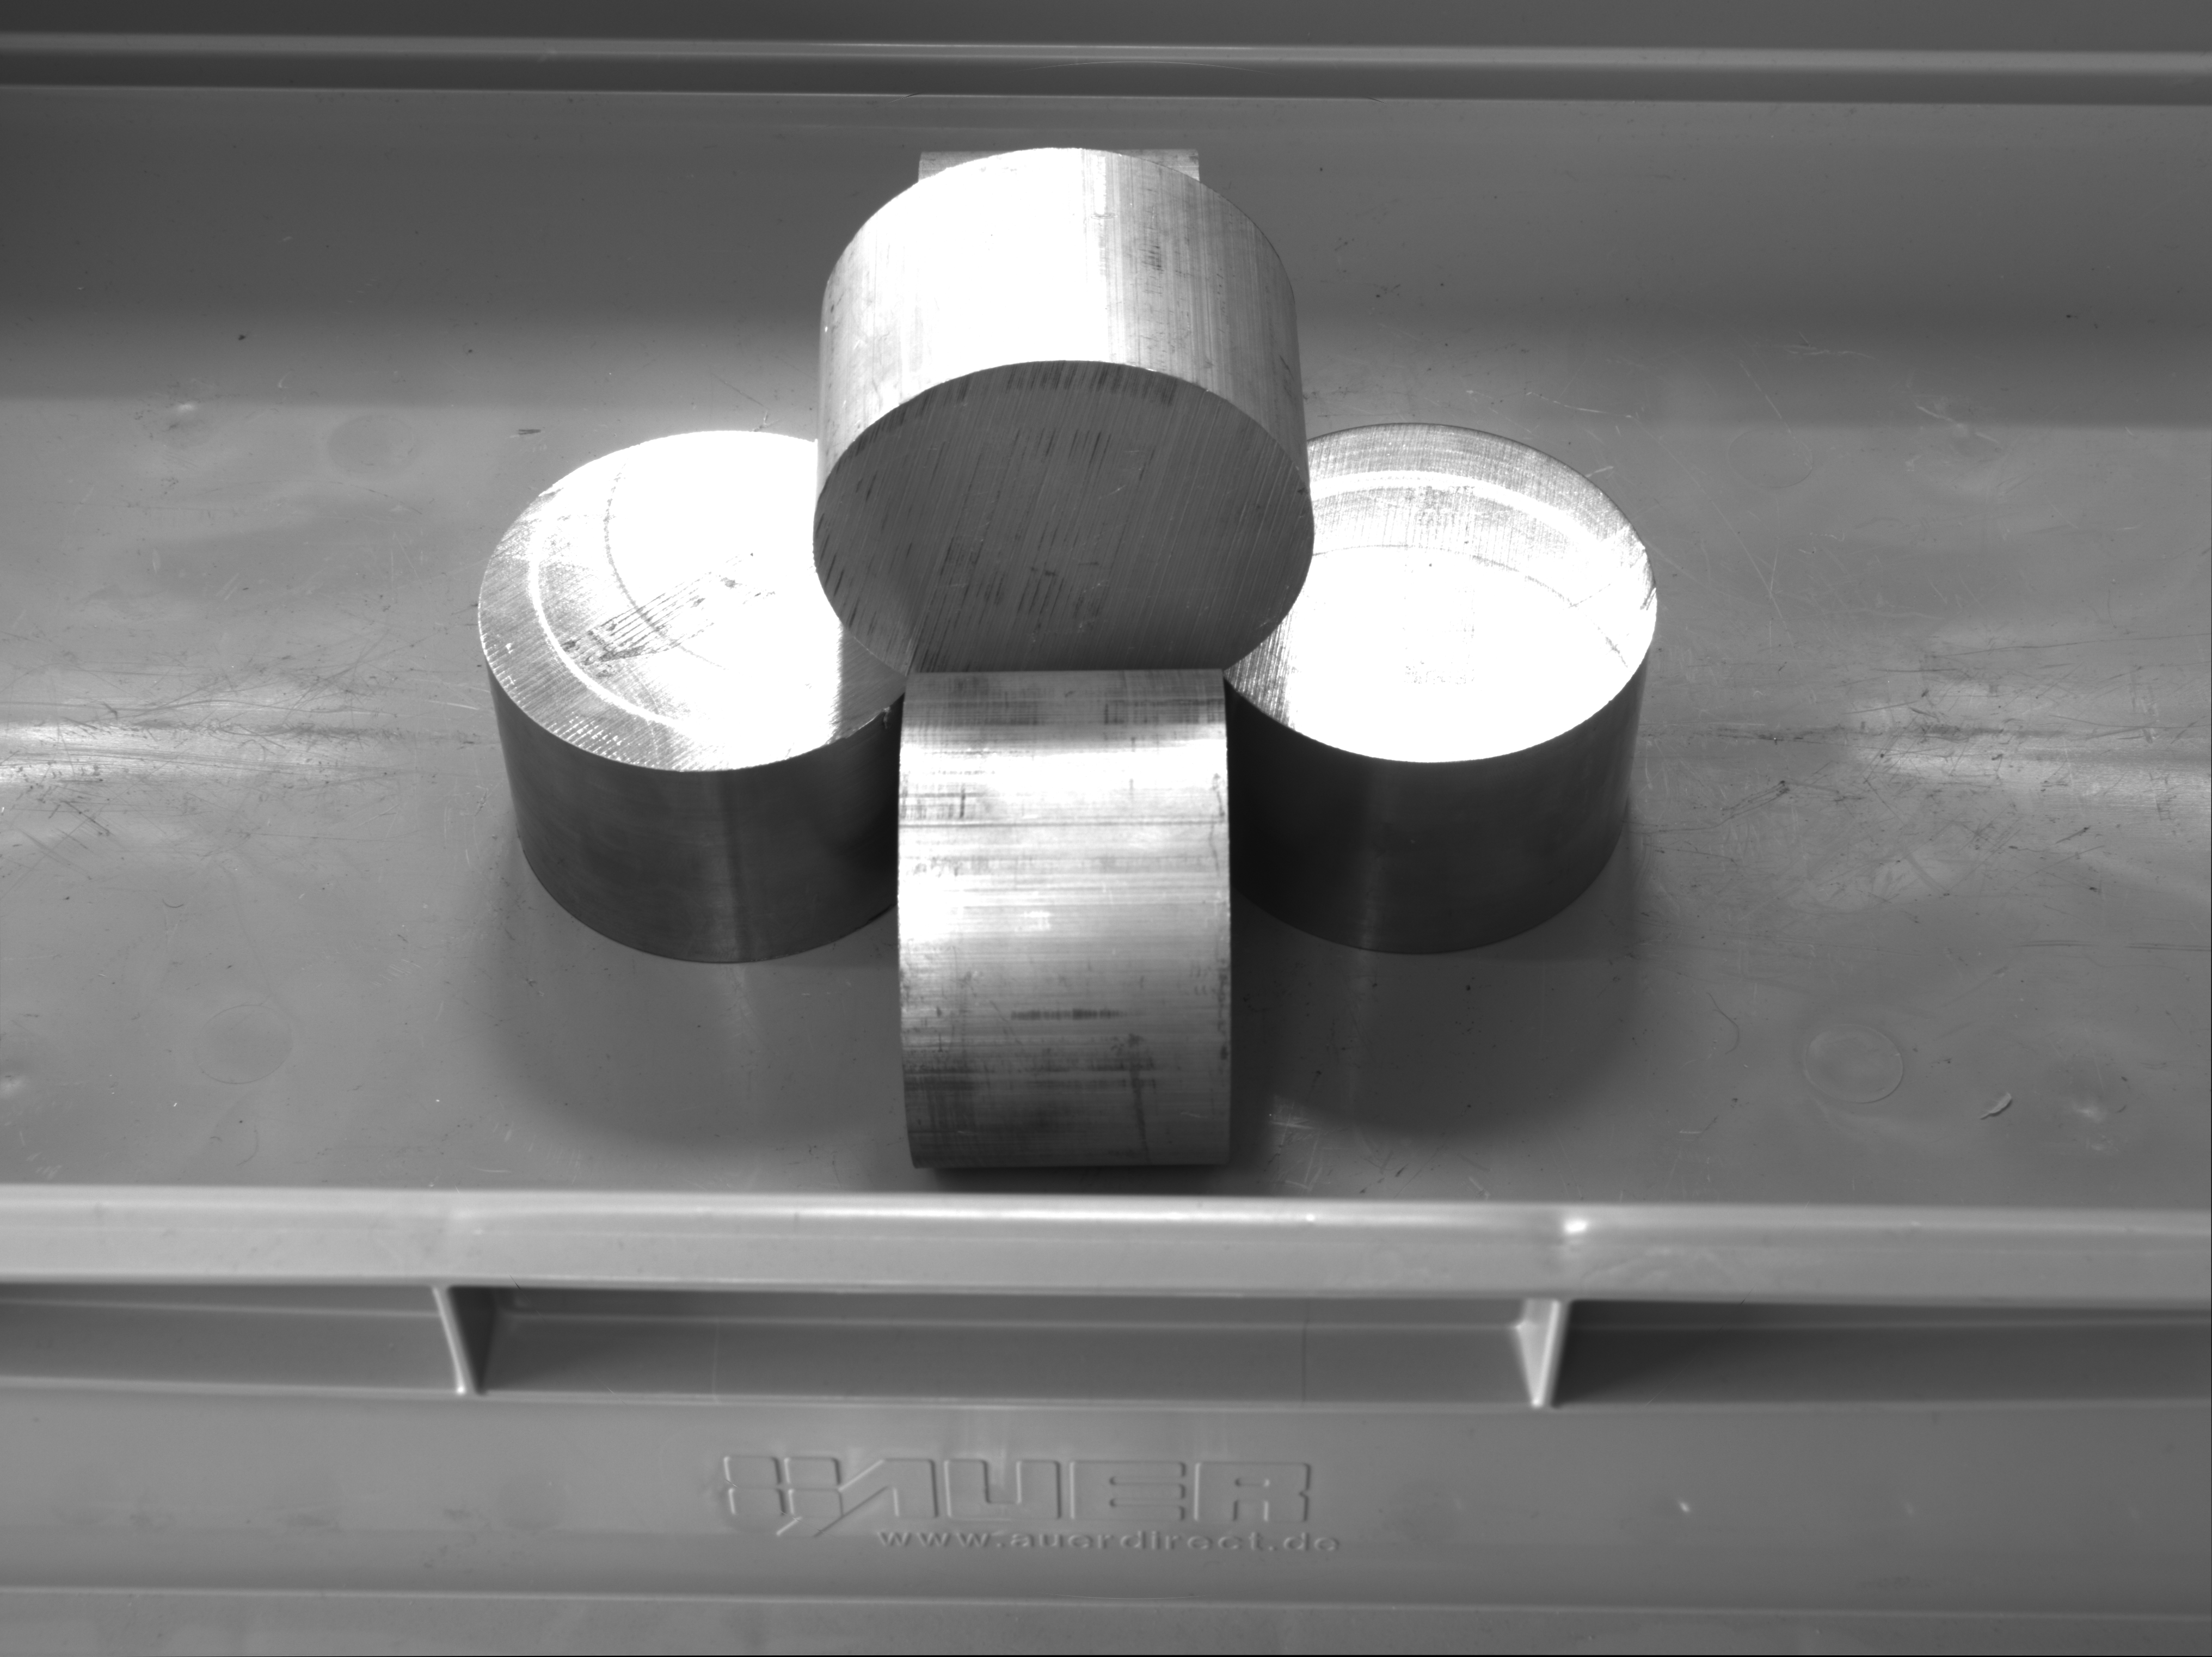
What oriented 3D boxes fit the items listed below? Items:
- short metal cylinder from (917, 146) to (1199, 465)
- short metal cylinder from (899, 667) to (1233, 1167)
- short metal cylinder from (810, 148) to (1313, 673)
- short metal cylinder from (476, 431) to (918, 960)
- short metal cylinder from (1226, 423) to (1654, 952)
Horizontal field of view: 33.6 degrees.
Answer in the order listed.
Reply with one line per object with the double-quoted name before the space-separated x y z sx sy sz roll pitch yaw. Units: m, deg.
"short metal cylinder" -0.009 -0.085 0.675 0.050 0.080 0.080 -1 50 -1
"short metal cylinder" -0.007 0.014 0.592 0.050 0.080 0.080 -1 50 -1
"short metal cylinder" -0.007 -0.064 0.600 0.080 0.080 0.050 -1 50 -1
"short metal cylinder" -0.067 -0.024 0.644 0.080 0.050 0.080 0 50 0
"short metal cylinder" 0.053 -0.025 0.644 0.080 0.050 0.080 0 50 0
